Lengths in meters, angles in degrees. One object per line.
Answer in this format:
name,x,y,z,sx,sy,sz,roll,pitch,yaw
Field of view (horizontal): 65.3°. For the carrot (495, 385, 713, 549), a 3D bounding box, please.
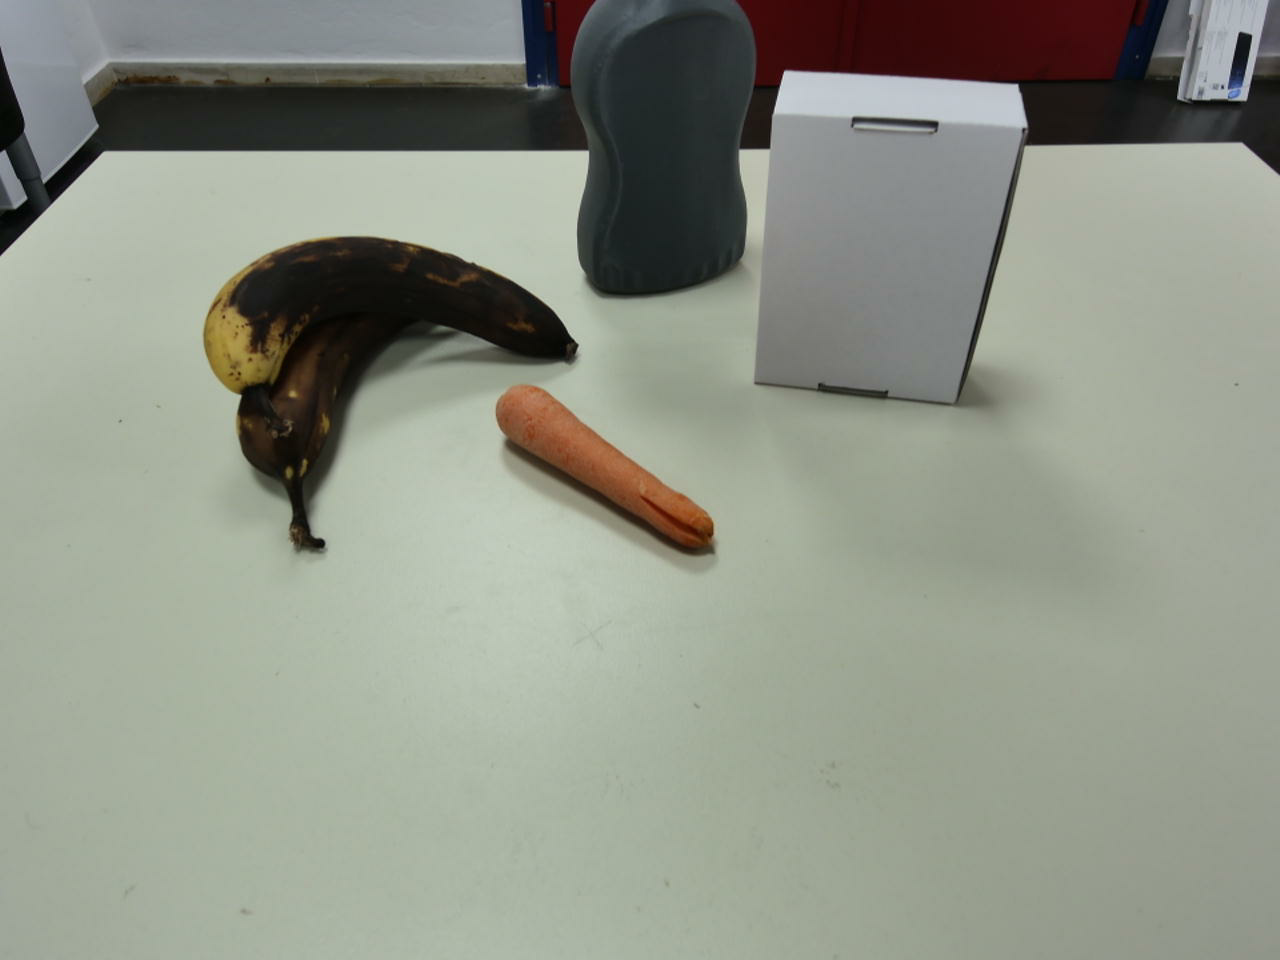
carrot,-0.019,-0.009,0.459,0.030,0.032,0.136,-32,48,-34
